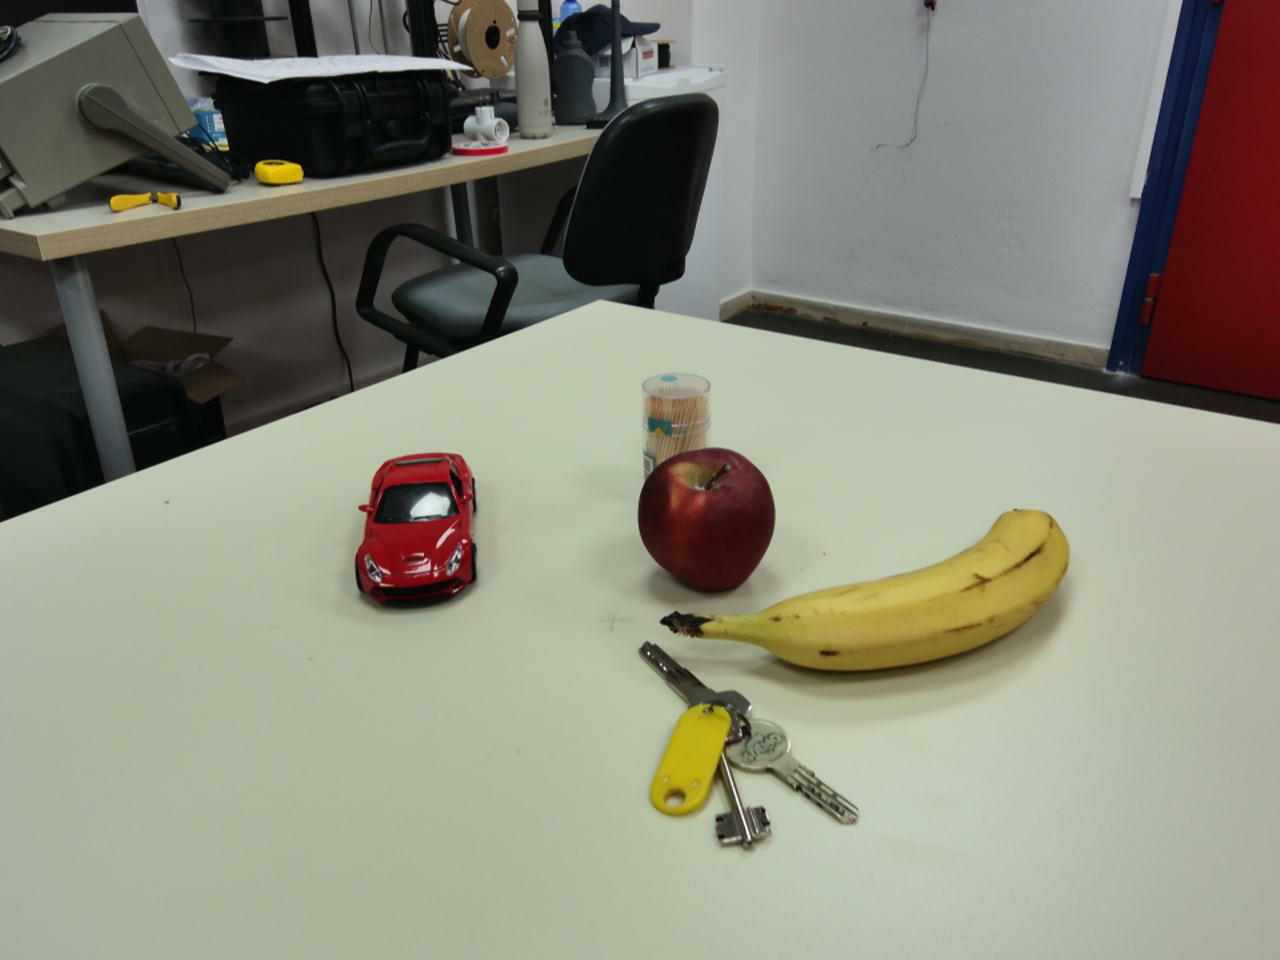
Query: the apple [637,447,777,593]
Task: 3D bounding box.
[{"bbox_3d":[0.034,0.019,0.502,0.070,0.072,0.070,1,24,0],"label":"apple"}]
